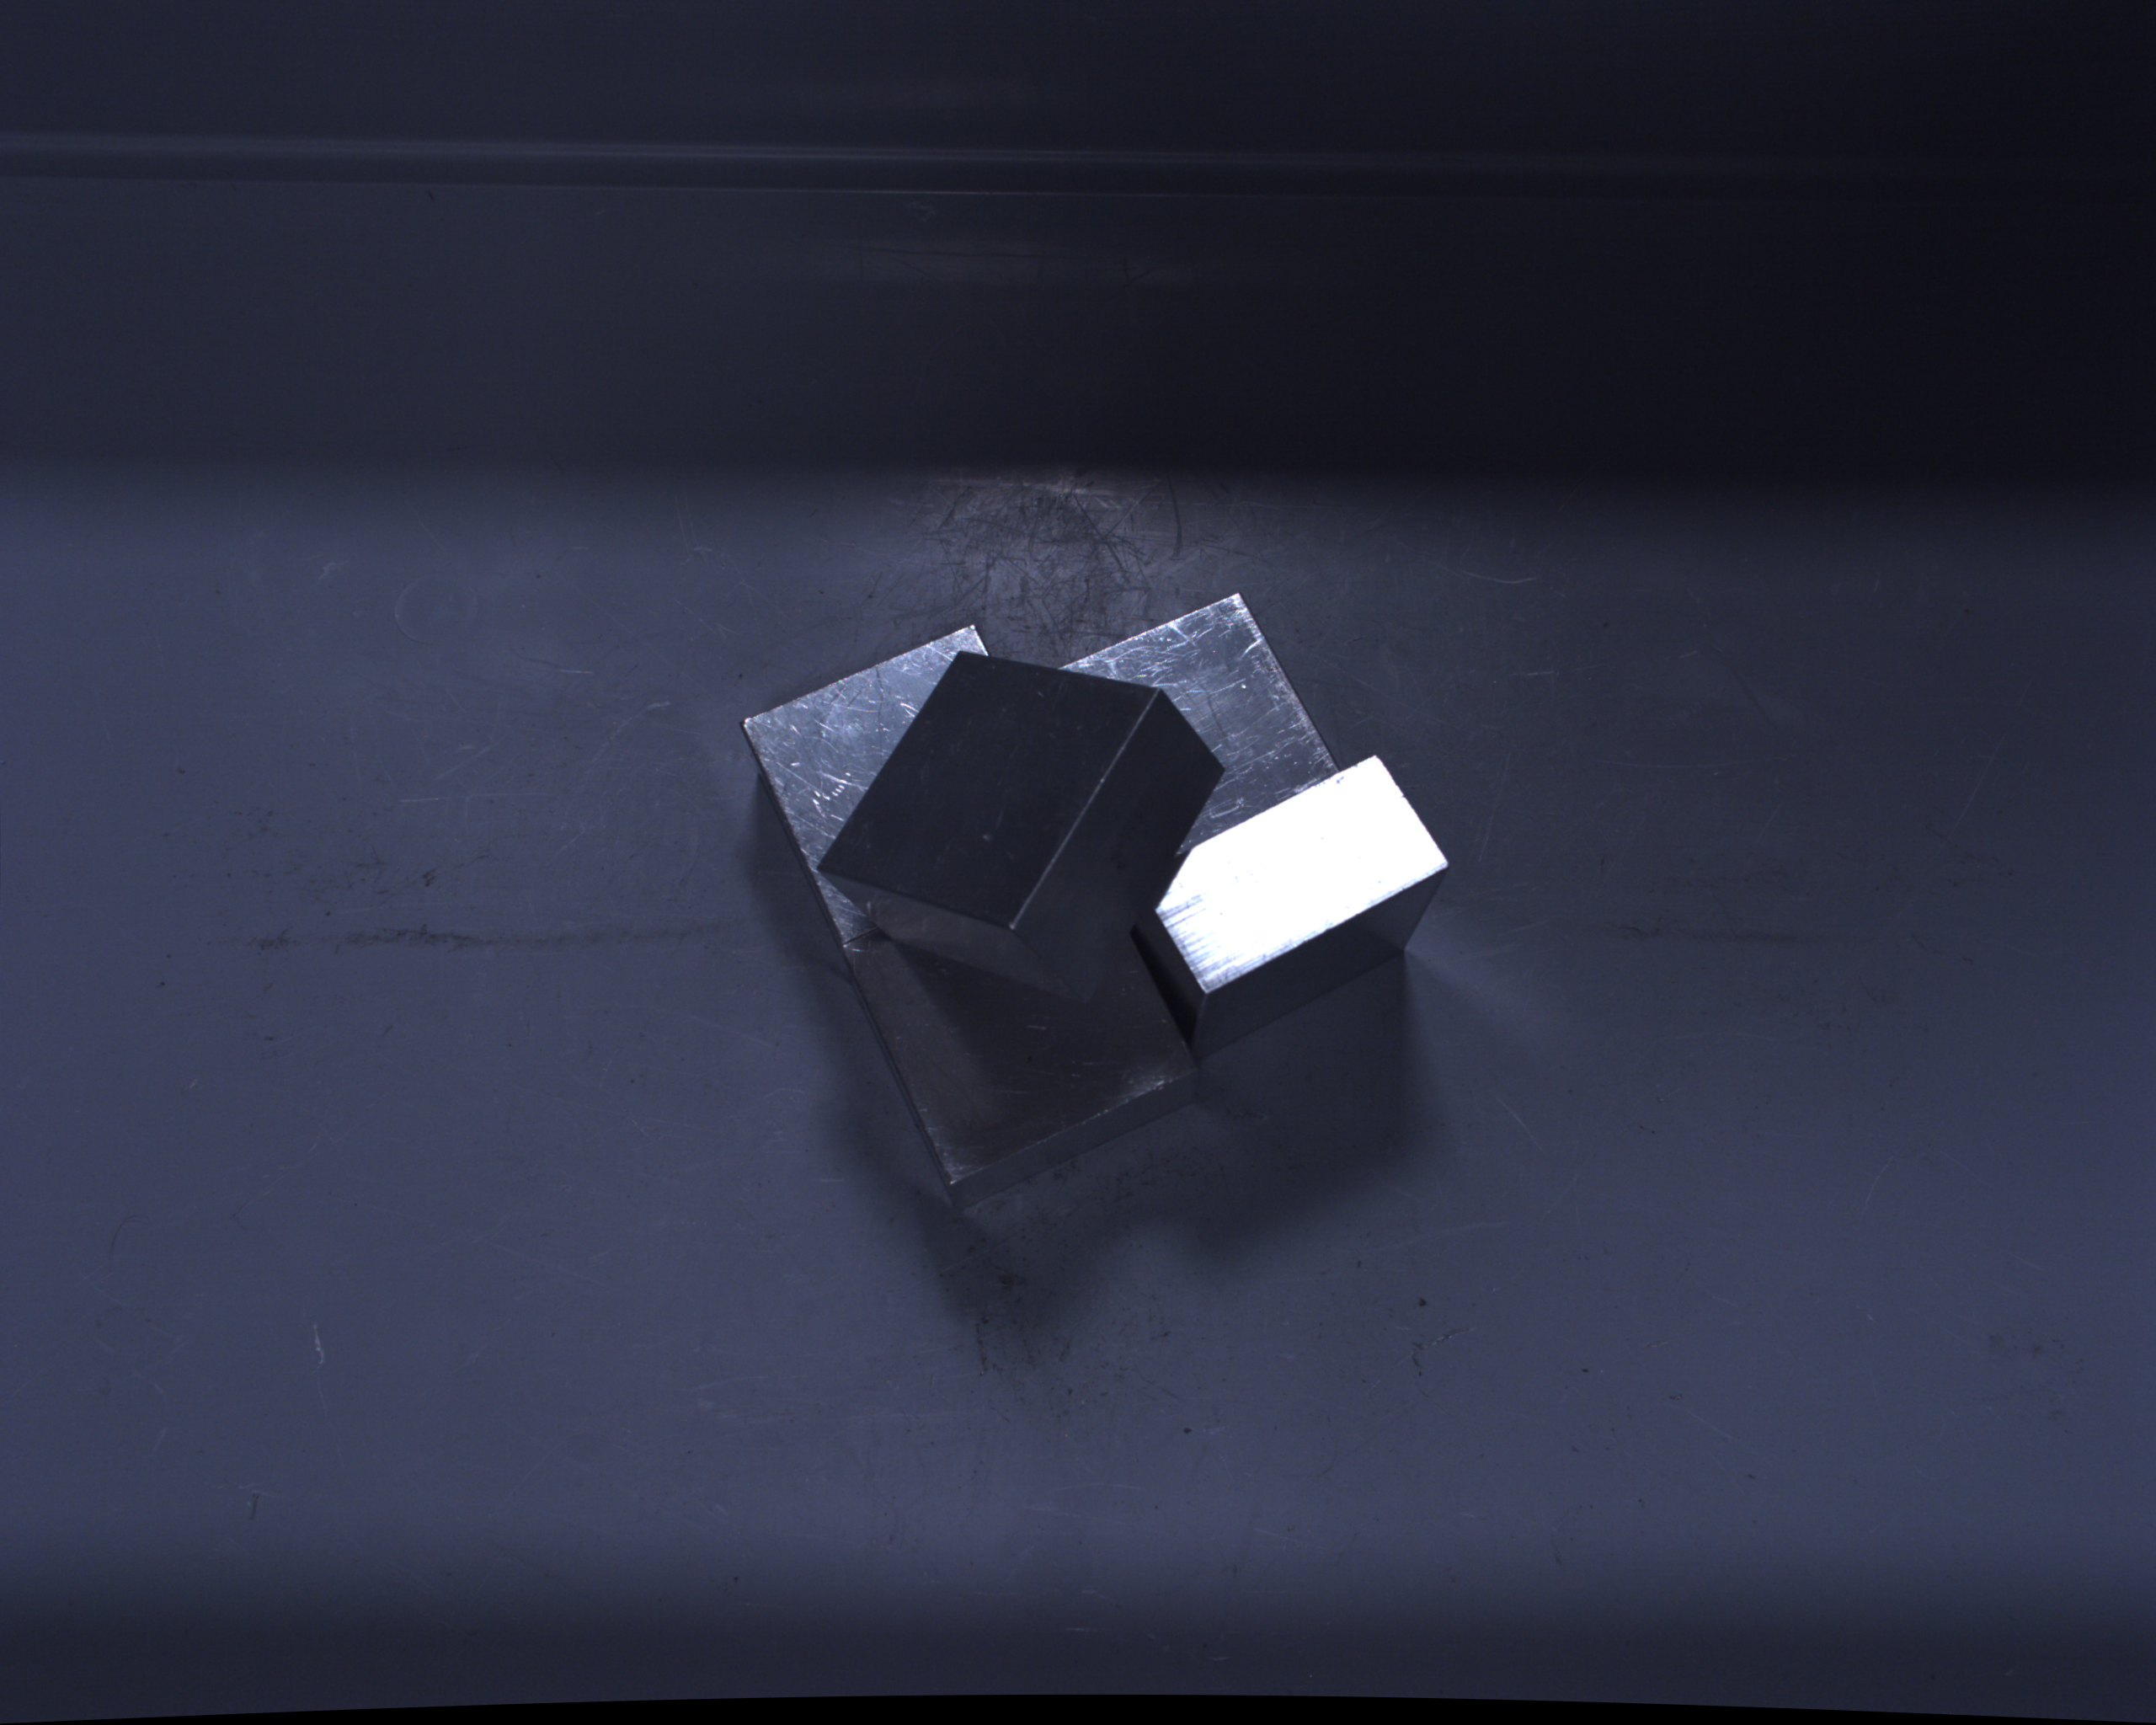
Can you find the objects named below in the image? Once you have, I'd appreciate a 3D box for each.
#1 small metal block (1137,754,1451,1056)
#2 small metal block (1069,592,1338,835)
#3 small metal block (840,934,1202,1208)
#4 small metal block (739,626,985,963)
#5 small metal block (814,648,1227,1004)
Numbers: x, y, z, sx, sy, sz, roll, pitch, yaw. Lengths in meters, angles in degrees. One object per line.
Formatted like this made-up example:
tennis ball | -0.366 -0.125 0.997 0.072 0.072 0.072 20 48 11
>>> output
small metal block | 0.037 0.010 0.391 0.050 0.050 0.025 -27 73 -10
small metal block | 0.020 -0.019 0.415 0.050 0.025 0.050 -24 72 -9
small metal block | -0.011 0.031 0.397 0.050 0.025 0.050 -24 72 -9
small metal block | -0.032 -0.011 0.412 0.050 0.025 0.050 -24 72 -9
small metal block | -0.010 -0.008 0.371 0.050 0.025 0.050 15 66 42
